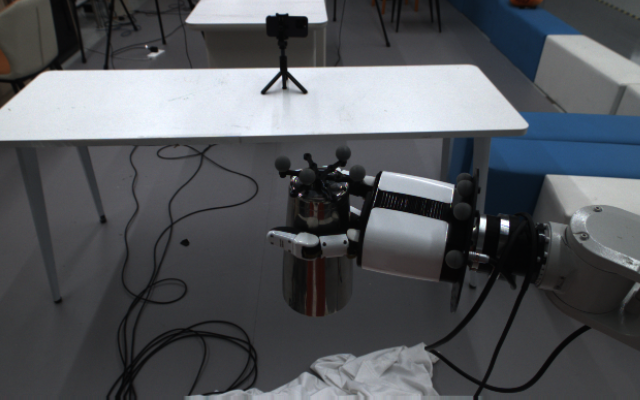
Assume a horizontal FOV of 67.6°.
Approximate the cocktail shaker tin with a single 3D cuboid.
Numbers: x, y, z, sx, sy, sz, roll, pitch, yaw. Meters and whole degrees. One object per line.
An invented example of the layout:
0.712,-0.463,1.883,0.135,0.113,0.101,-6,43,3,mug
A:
0.002,0.045,0.577,0.093,0.170,0.093,1,39,-1,cocktail shaker tin
